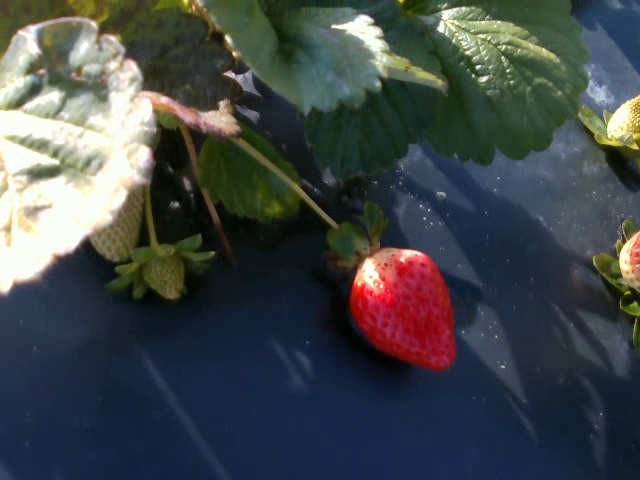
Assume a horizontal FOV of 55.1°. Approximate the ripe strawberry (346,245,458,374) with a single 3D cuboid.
[{"bbox_3d":[0.027,0.021,0.169,0.030,0.045,0.033,-31,-19,9],"label":"ripe strawberry"}]
